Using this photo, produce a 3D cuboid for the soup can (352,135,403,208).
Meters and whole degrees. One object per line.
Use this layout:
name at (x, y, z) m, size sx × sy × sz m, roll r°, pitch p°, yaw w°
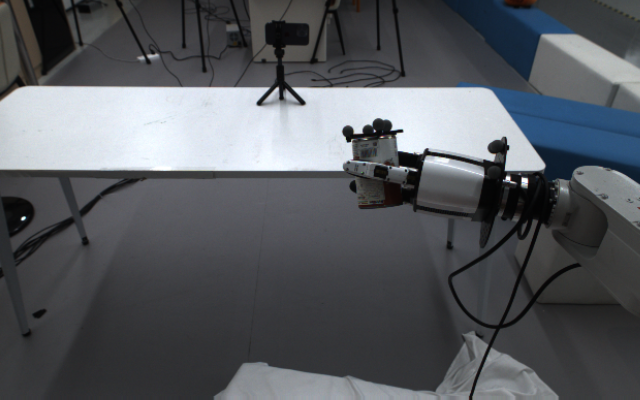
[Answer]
soup can at (0.086, -0.041, 0.714) m, size 0.067 × 0.101 × 0.067 m, roll -7°, pitch 3°, yaw 0°
